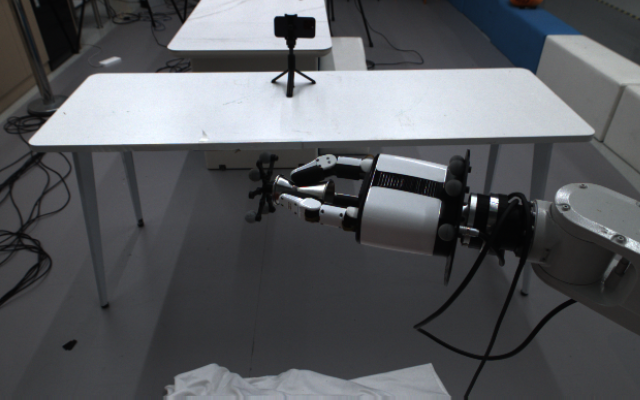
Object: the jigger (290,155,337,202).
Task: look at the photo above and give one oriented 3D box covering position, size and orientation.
[{"bbox_3d":[-0.014,-0.011,0.600,0.071,0.043,0.043,9,35,17],"label":"jigger"}]
